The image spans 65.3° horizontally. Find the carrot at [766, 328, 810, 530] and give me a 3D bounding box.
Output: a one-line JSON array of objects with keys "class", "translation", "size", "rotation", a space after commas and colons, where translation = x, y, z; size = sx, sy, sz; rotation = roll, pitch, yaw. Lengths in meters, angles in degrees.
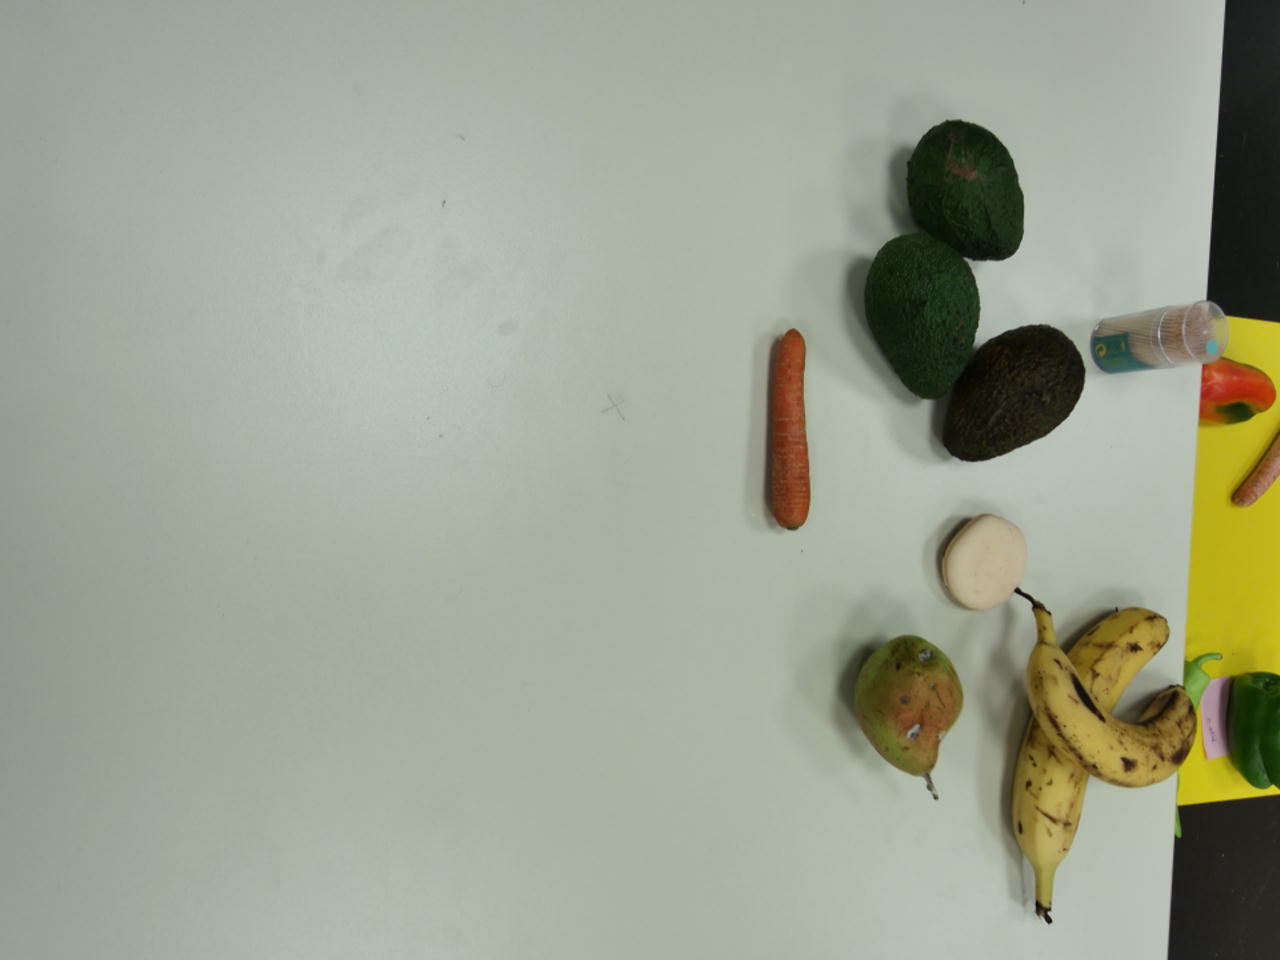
[{"class": "carrot", "translation": [0.090, -0.031, 0.598], "size": [0.024, 0.023, 0.122], "rotation": [2, 90, -22]}]
